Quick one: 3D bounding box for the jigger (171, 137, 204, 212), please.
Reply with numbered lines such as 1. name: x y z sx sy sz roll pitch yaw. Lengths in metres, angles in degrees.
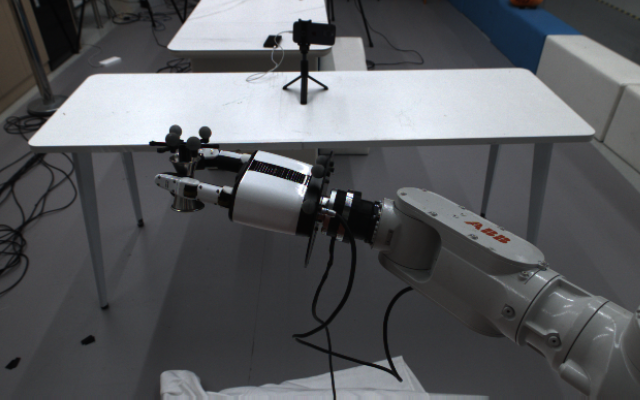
1. jigger: -0.176 -0.024 0.644 0.043 0.071 0.043 2 20 -1
